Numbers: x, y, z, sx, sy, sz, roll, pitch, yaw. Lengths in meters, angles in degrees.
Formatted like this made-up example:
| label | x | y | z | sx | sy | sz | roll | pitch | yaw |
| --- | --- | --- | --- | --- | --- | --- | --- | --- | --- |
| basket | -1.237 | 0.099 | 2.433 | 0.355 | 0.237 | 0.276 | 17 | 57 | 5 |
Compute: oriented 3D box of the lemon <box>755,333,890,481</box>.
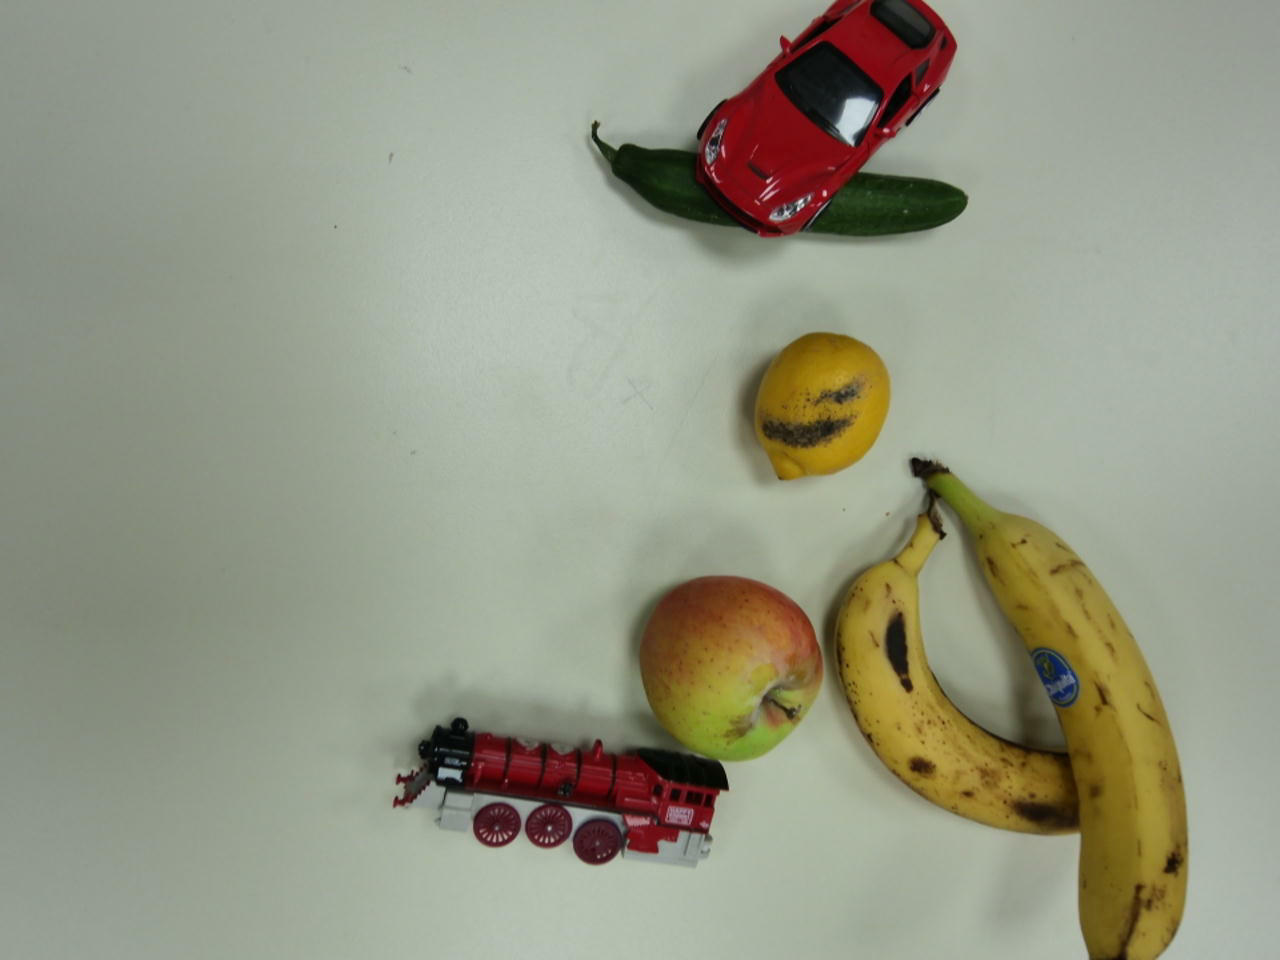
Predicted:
| label | x | y | z | sx | sy | sz | roll | pitch | yaw |
| --- | --- | --- | --- | --- | --- | --- | --- | --- | --- |
| lemon | 0.078 | -0.032 | 0.431 | 0.058 | 0.056 | 0.061 | -8 | 92 | -11 |
